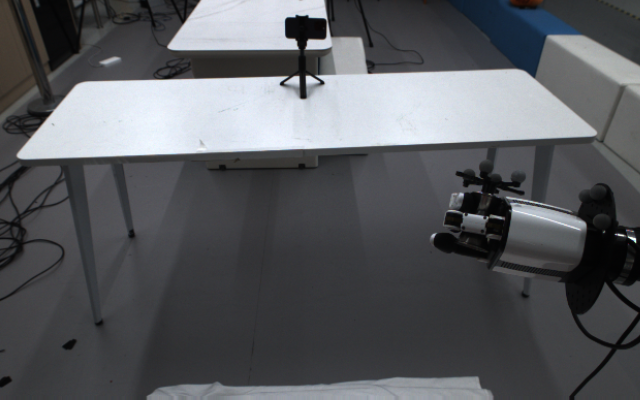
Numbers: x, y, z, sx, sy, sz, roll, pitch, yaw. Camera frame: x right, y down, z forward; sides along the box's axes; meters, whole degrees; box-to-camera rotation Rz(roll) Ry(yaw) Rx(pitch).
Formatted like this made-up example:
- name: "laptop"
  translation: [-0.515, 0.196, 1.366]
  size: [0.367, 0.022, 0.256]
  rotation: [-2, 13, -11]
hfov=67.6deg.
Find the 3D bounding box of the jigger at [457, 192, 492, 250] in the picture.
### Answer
- name: "jigger"
  translation: [0.202, 0.026, 0.611]
  size: [0.043, 0.071, 0.043]
  rotation: [19, -6, 2]
